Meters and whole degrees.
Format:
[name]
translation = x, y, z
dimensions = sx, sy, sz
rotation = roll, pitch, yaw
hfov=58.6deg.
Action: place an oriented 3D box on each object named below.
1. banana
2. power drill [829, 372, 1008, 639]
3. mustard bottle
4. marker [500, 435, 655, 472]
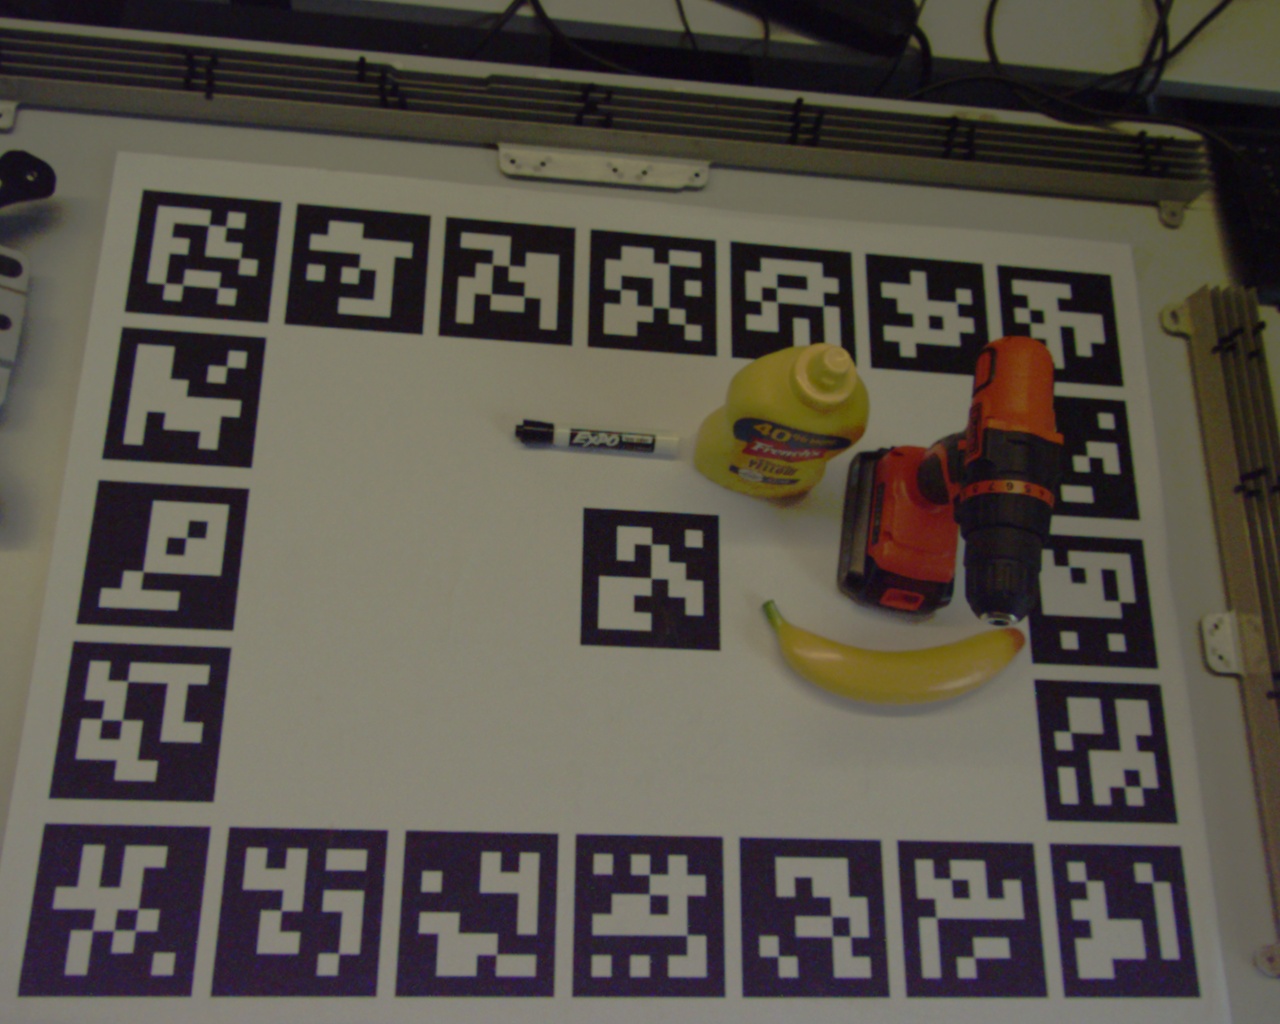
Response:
[banana]
translation = 0.168, 0.120, 0.874
dimensions = 0.197, 0.039, 0.074
rotation = 10, 76, -4
[power drill]
translation = 0.195, 0.012, 0.806
dimensions = 0.057, 0.187, 0.184
rotation = 17, 71, -7
[mustard bottle]
translation = 0.089, -0.052, 0.825
dimensions = 0.096, 0.192, 0.058
rotation = 14, 74, -7
[marker]
translation = -0.049, -0.046, 0.894
dimensions = 0.120, 0.020, 0.020
rotation = 5, 76, -7
